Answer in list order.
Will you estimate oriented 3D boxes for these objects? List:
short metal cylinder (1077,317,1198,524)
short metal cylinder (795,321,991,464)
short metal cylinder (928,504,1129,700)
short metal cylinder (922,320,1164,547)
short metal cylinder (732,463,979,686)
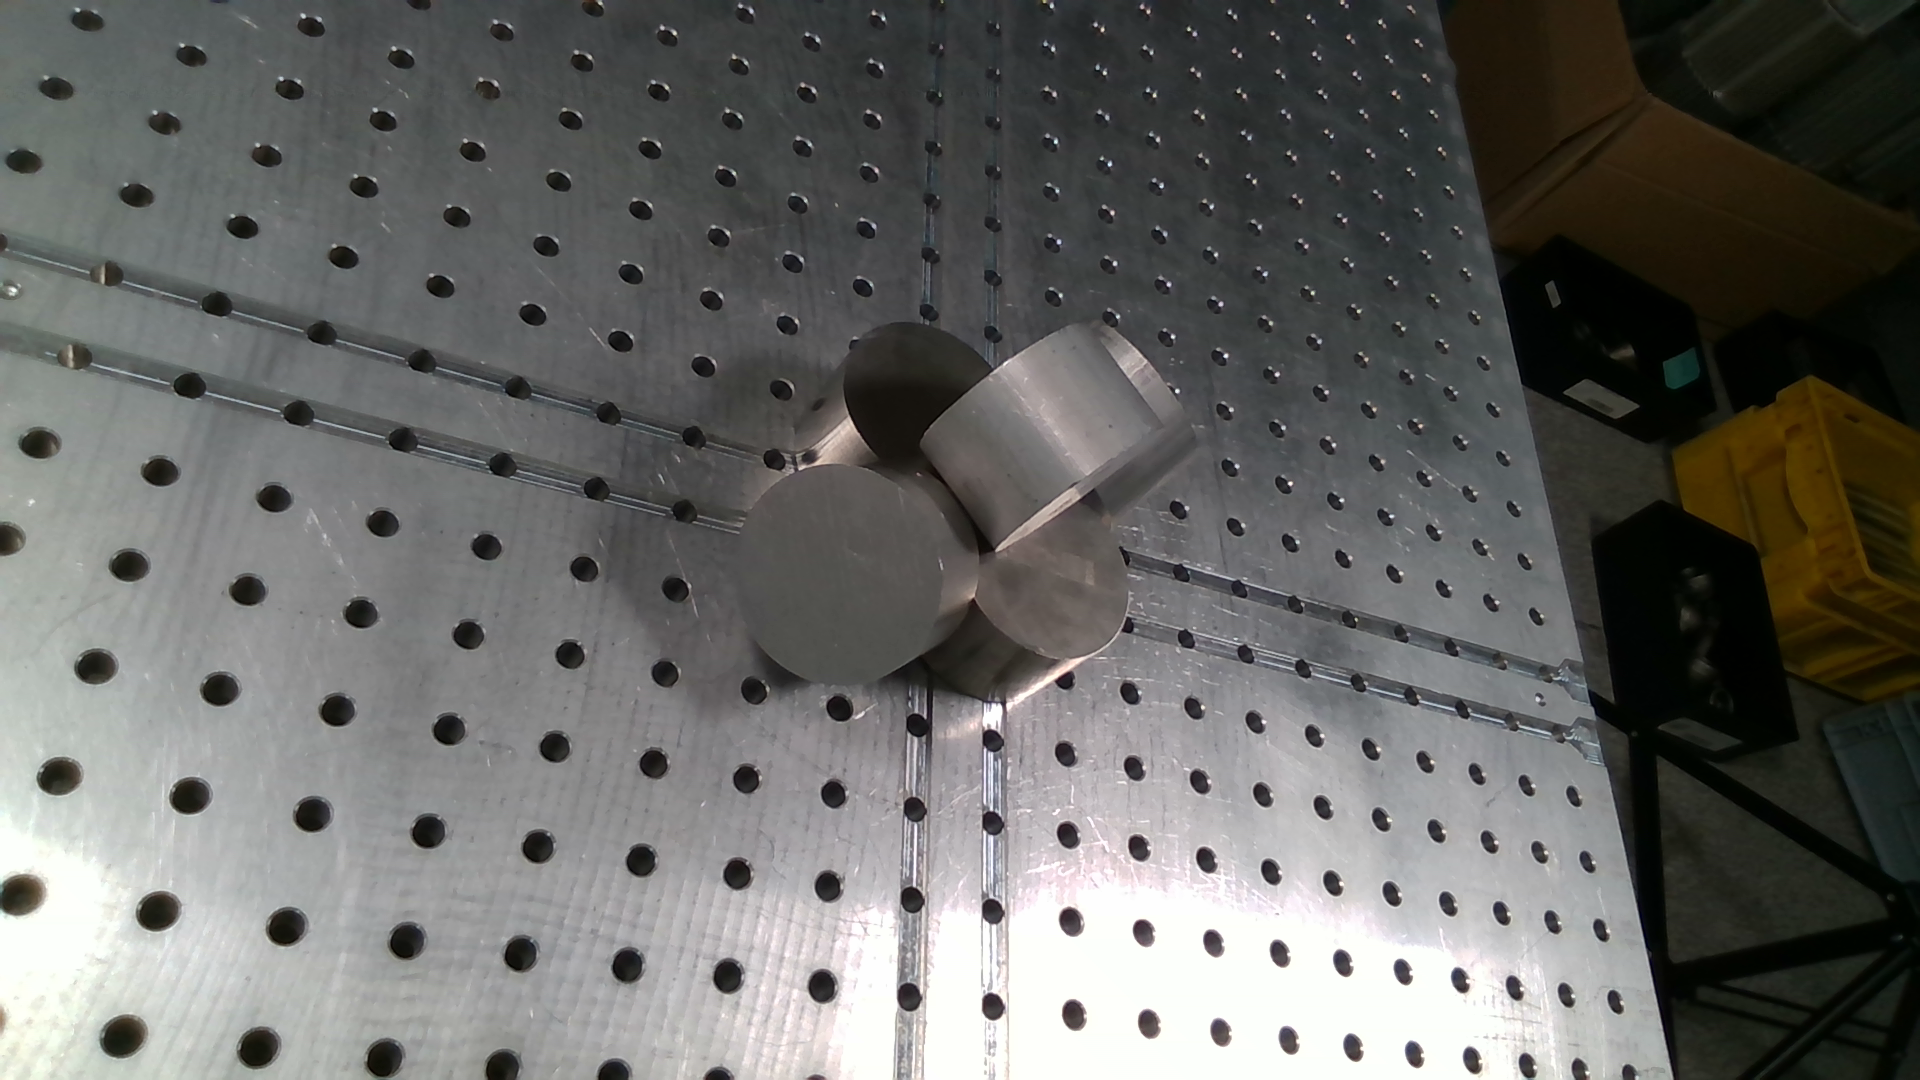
[{"bbox_3d":[0.059,-0.052,0.609,0.050,0.080,0.080,-40,89,-5],"label":"short metal cylinder"},{"bbox_3d":[-0.023,-0.045,0.582,0.080,0.050,0.080,14,59,-25],"label":"short metal cylinder"},{"bbox_3d":[0.023,0.021,0.575,0.080,0.050,0.080,14,59,-25],"label":"short metal cylinder"},{"bbox_3d":[0.032,-0.040,0.528,0.080,0.080,0.050,-32,84,-39],"label":"short metal cylinder"},{"bbox_3d":[-0.038,0.010,0.515,0.080,0.080,0.050,55,15,5],"label":"short metal cylinder"}]
